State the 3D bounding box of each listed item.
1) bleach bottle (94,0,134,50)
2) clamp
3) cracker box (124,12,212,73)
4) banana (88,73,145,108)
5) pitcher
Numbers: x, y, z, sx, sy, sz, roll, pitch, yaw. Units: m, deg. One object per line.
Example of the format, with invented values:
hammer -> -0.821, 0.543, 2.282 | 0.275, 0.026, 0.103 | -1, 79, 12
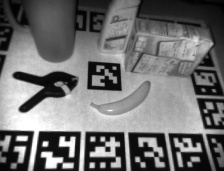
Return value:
bleach bottle -> 0.005, -0.212, 0.637 | 0.103, 0.251, 0.067 | 4, 58, -7
clamp -> -0.186, -0.025, 0.612 | 0.166, 0.036, 0.121 | -9, 60, -18
cracker box -> 0.153, -0.122, 0.644 | 0.214, 0.164, 0.071 | 5, 55, -5
banana -> 0.031, 0.017, 0.637 | 0.199, 0.039, 0.073 | -27, 67, -24
pitcher -> -0.179, -0.203, 0.573 | 0.190, 0.242, 0.132 | -11, 61, -19
